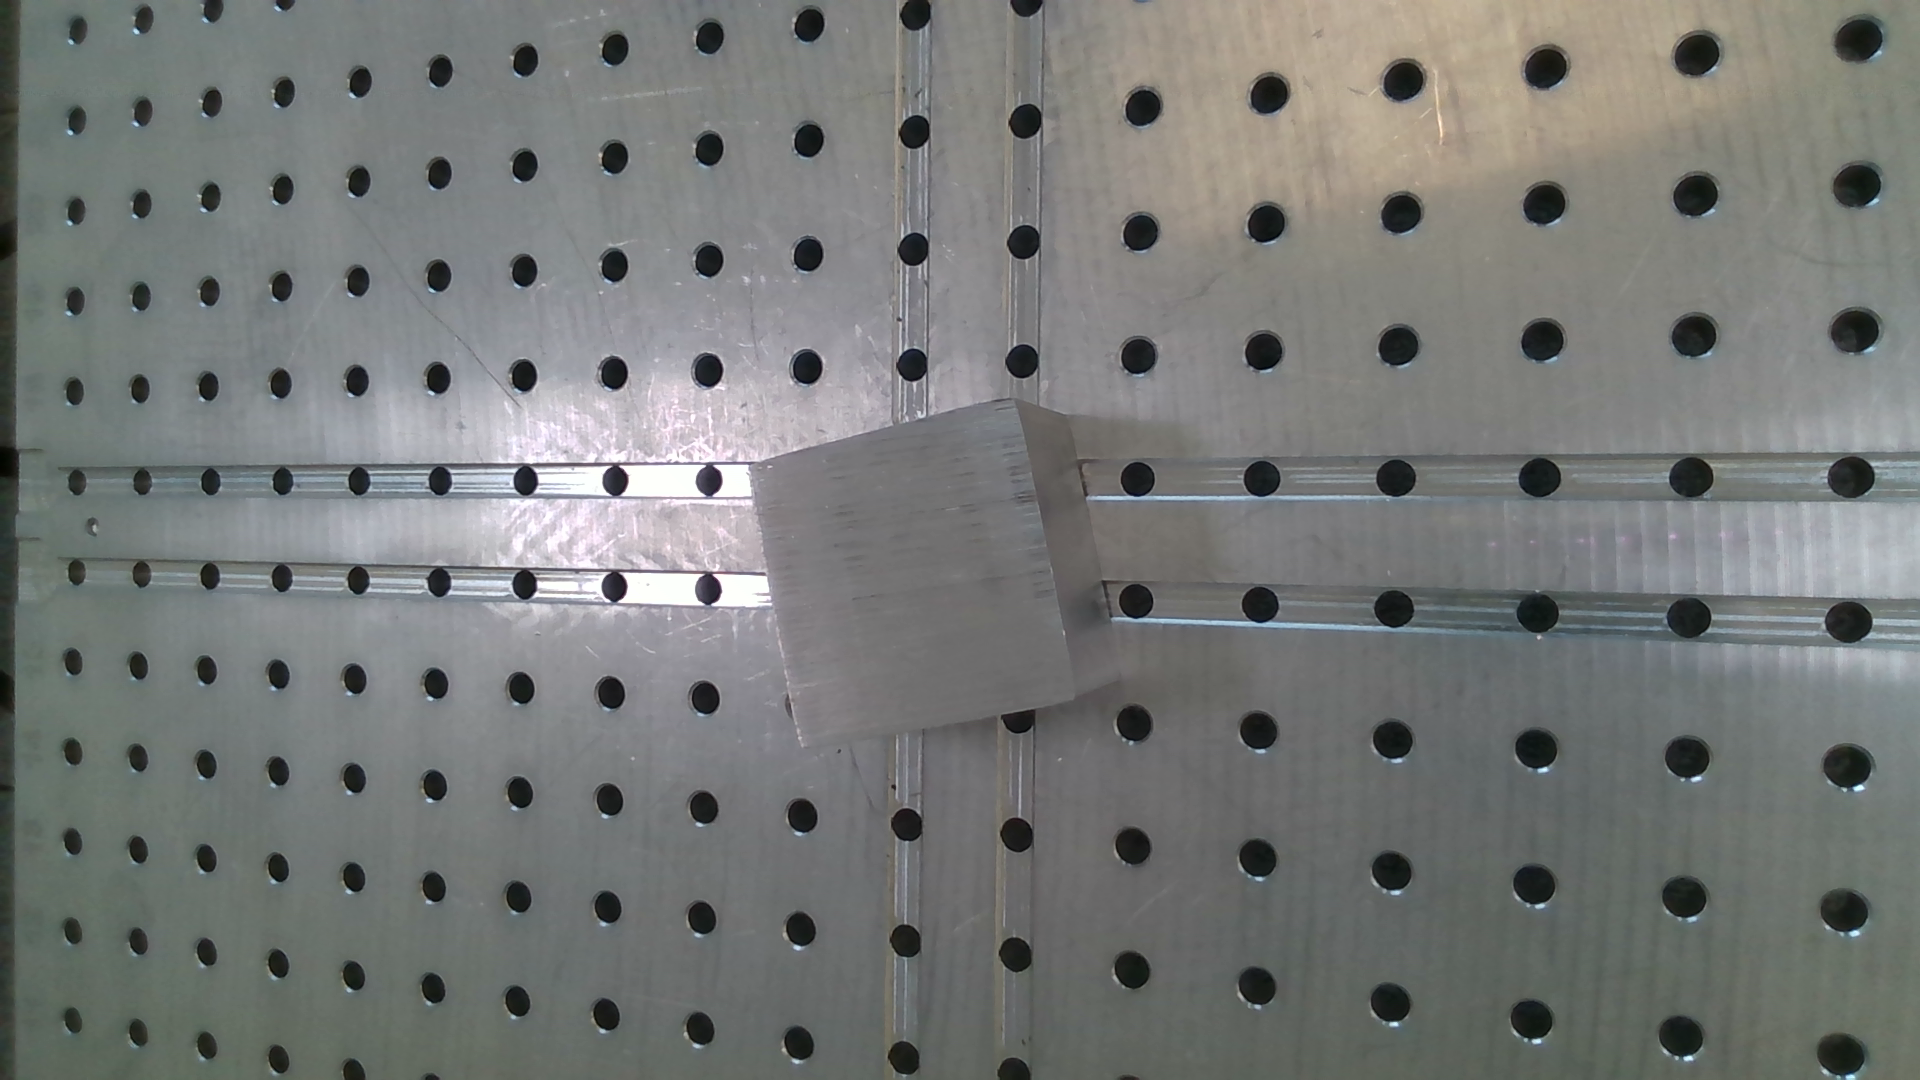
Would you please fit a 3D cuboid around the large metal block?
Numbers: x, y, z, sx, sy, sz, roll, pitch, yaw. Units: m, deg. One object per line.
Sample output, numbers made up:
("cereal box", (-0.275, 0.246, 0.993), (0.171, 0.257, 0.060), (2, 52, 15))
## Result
("large metal block", (-0.007, 0.009, 0.385), (0.080, 0.050, 0.080), (-13, 86, 20))
